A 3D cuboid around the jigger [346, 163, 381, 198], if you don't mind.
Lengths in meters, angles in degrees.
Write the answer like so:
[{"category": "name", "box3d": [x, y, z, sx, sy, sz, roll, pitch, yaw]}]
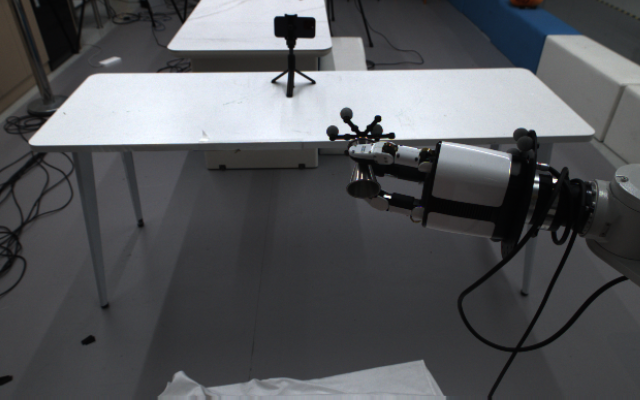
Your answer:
[{"category": "jigger", "box3d": [0.056, -0.045, 0.624, 0.043, 0.043, 0.071, 2, 58, -1]}]
